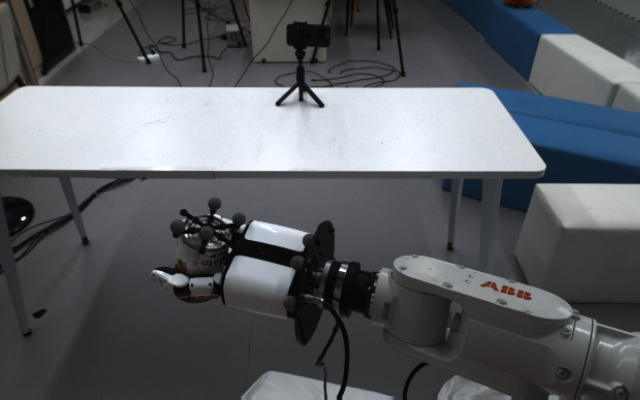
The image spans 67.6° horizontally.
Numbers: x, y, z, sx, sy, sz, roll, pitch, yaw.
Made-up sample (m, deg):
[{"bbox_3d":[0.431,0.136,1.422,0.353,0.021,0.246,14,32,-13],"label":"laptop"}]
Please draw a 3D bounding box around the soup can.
[{"bbox_3d":[-0.158,0.079,0.640,0.067,0.101,0.067,14,35,-10],"label":"soup can"}]
